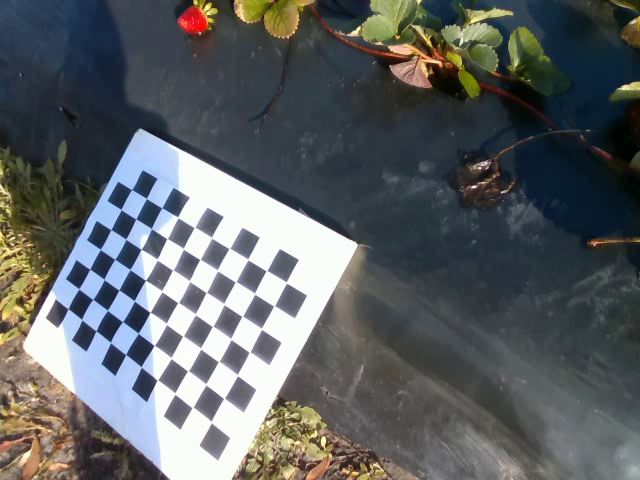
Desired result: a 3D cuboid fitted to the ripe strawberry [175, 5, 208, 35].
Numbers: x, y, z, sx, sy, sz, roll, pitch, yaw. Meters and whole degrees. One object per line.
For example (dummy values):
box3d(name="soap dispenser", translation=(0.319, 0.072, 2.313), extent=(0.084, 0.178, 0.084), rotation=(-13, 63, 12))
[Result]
box3d(name="ripe strawberry", translation=(-0.120, -0.203, 0.576), extent=(0.028, 0.031, 0.041), rotation=(0, 21, 25))
